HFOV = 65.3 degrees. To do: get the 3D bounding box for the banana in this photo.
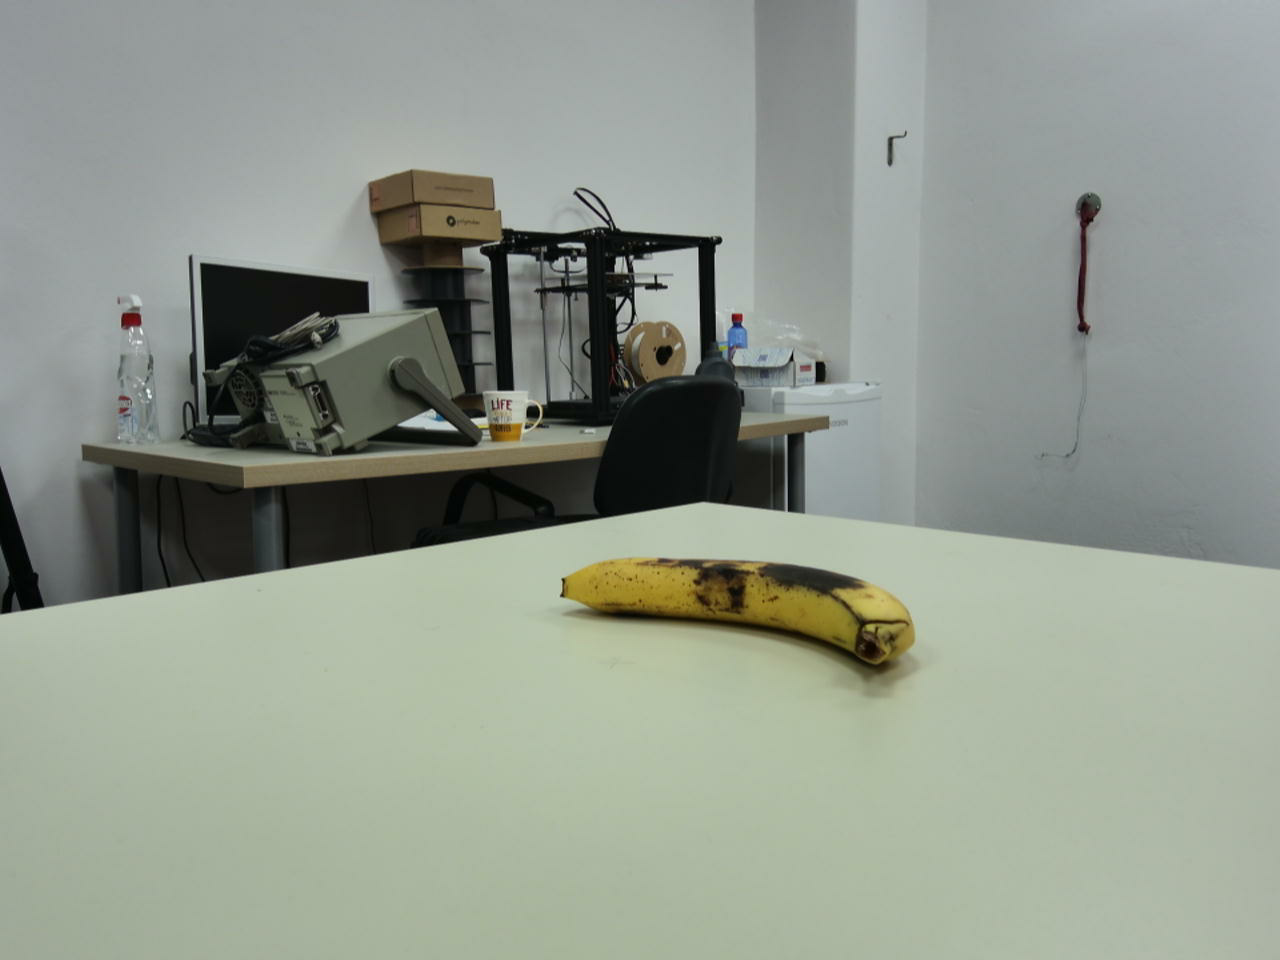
[{"bbox_3d":[0.057,0.065,0.541,0.084,0.037,0.222,-4,7,-42],"label":"banana"}]
